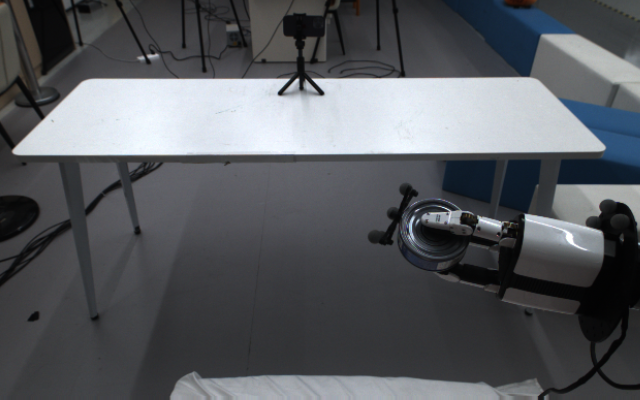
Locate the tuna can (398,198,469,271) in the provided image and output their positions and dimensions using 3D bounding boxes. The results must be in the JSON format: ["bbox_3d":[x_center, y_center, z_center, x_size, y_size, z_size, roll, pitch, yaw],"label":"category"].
[{"bbox_3d":[0.141,0.040,0.590,0.085,0.034,0.085,-1,60,1],"label":"tuna can"}]
